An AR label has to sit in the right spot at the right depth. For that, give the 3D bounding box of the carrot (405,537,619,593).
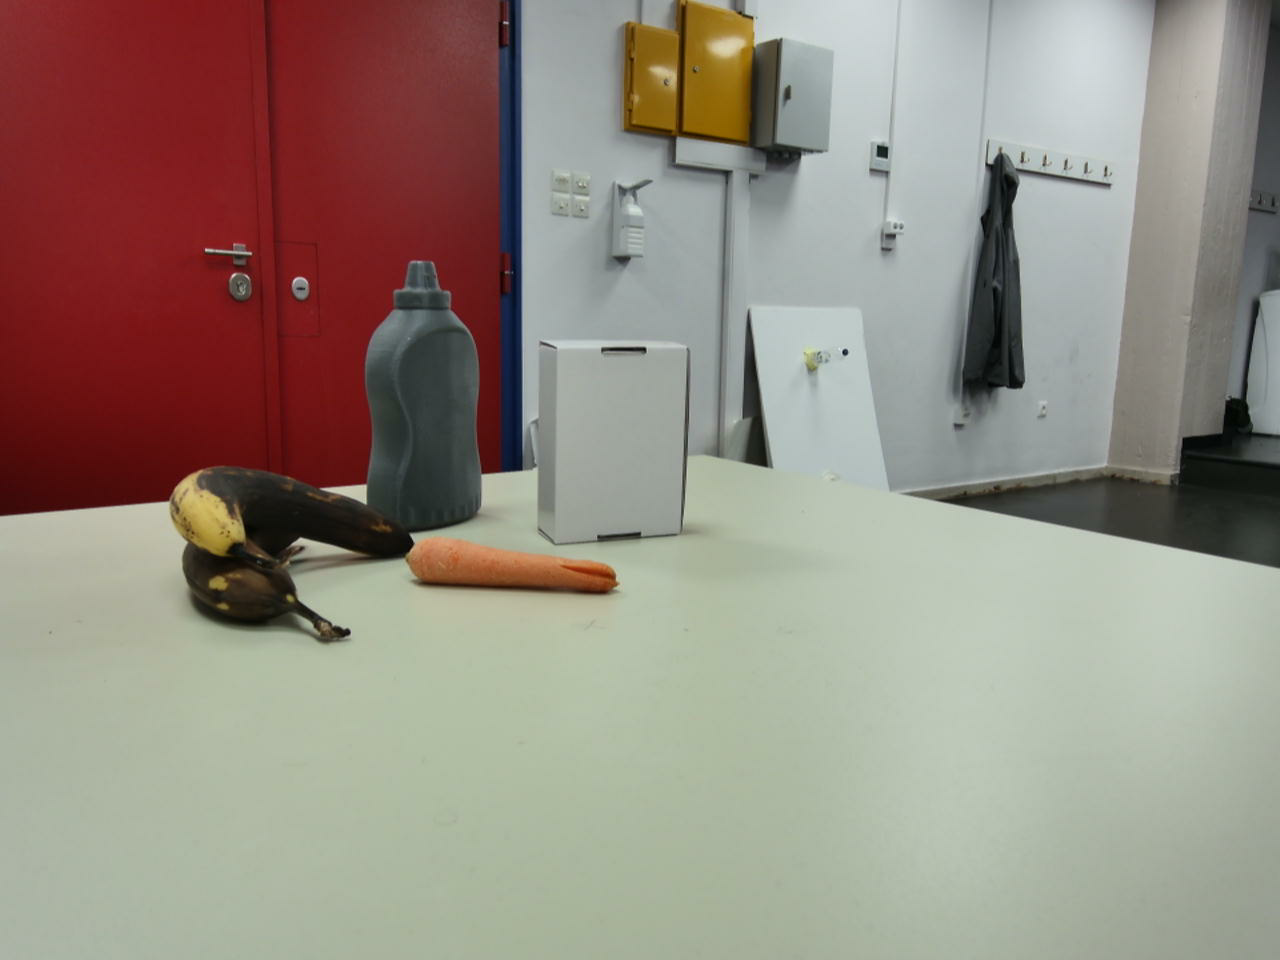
[{"bbox_3d":[-0.081,0.052,0.624,0.136,0.032,0.030,2,8,10],"label":"carrot"}]
